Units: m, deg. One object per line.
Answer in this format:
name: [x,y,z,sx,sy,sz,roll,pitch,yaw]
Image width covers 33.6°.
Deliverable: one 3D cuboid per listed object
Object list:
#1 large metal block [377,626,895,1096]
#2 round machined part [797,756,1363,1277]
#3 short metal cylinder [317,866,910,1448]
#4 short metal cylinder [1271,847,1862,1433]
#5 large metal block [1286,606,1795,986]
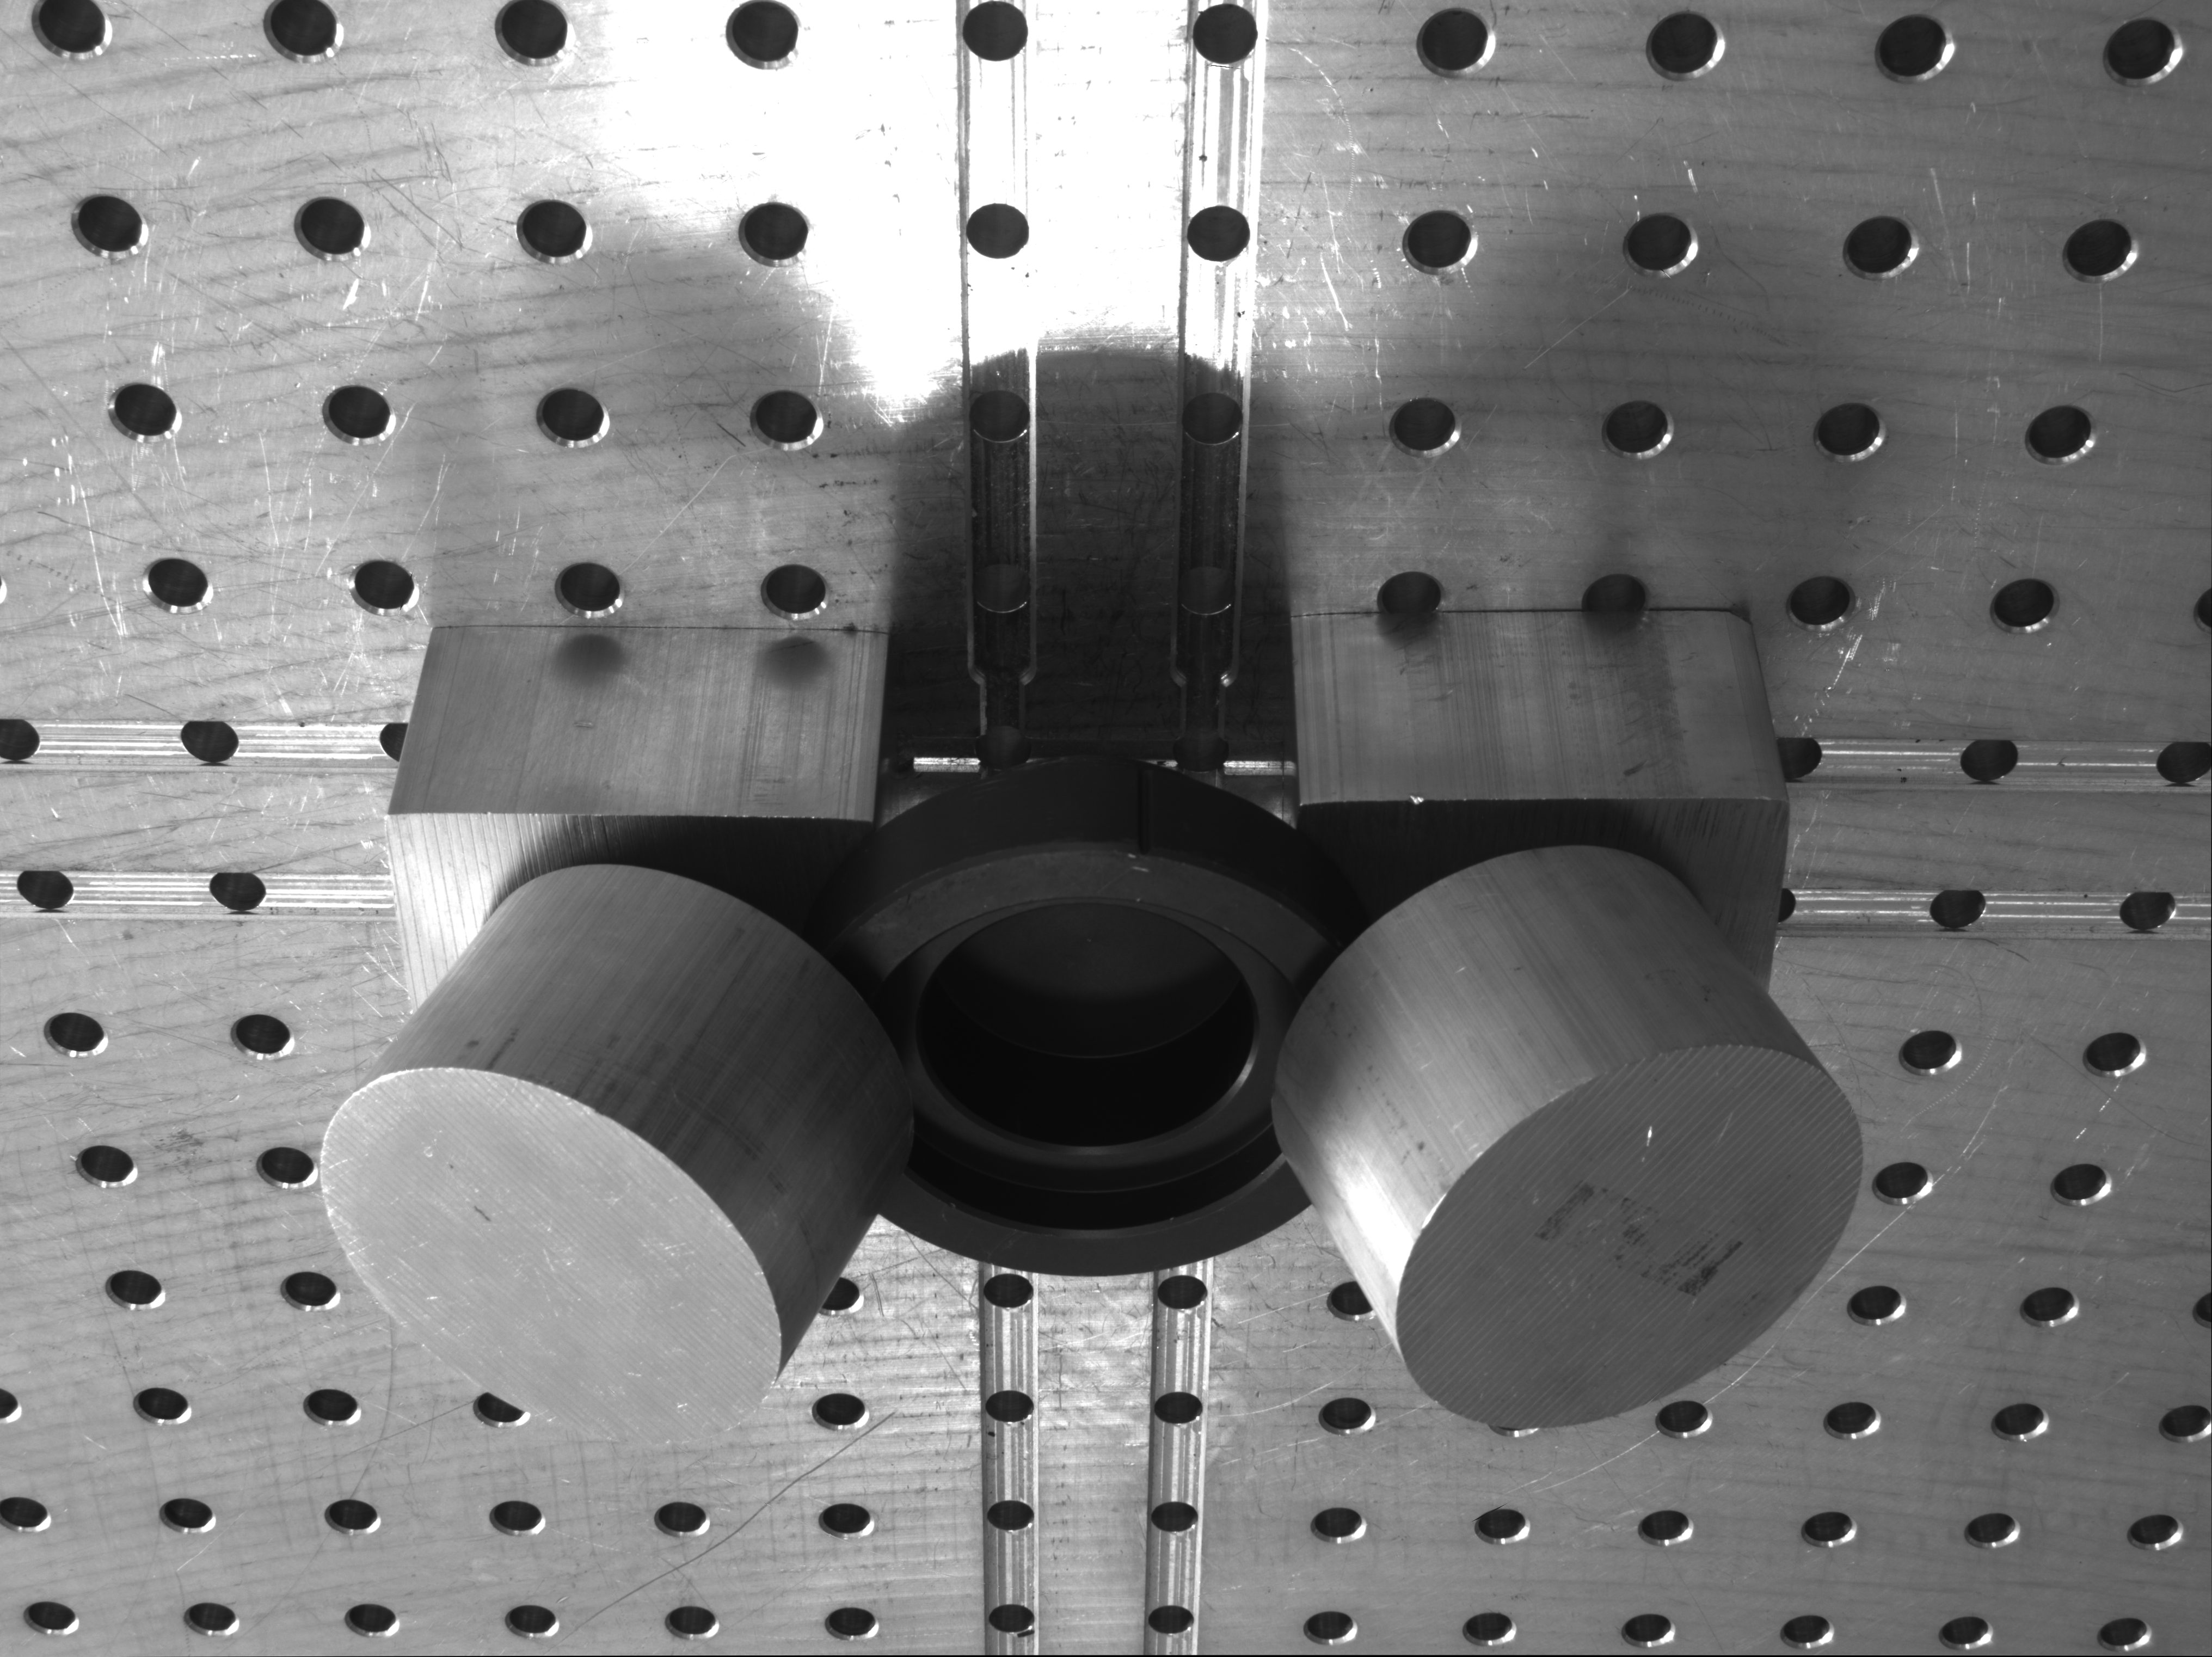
large metal block: [-0.078,0.012,0.636,0.080,0.050,0.080,0,130,0]
round machined part: [-0.003,0.027,0.615,0.098,0.042,0.098,0,130,0]
short metal cylinder: [-0.078,0.053,0.588,0.080,0.050,0.080,14,133,16]
short metal cylinder: [0.073,0.050,0.586,0.080,0.050,0.080,-13,131,-15]
large metal block: [0.071,0.009,0.634,0.080,0.050,0.080,-1,130,1]
